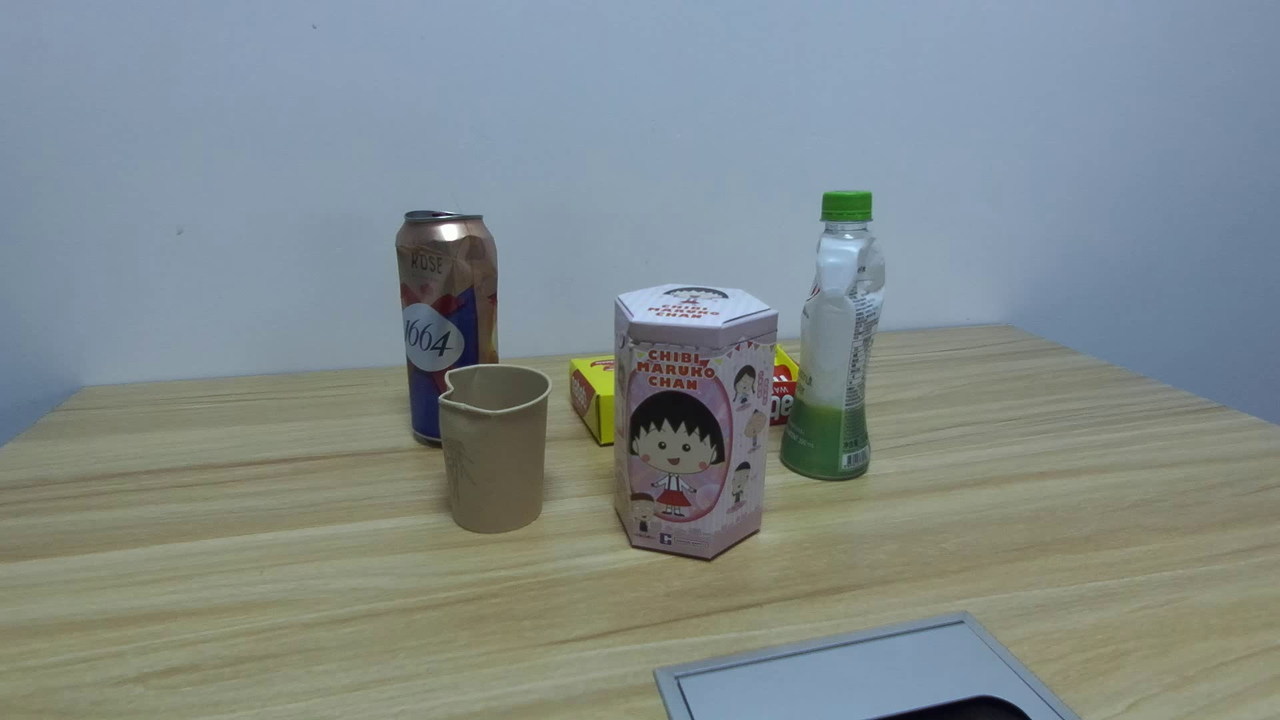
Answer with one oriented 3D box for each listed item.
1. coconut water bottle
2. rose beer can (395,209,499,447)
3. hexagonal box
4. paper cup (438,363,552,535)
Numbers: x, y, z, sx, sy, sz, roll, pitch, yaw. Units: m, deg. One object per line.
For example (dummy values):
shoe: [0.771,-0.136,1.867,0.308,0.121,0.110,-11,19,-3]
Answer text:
coconut water bottle: [0.131,-0.016,0.473,0.067,0.187,0.067,1,17,0]
rose beer can: [-0.138,-0.024,0.523,0.065,0.167,0.075,-11,20,-37]
hexagonal box: [0.029,0.033,0.404,0.091,0.136,0.084,6,19,14]
paper cup: [-0.087,0.053,0.426,0.073,0.081,0.069,9,19,22]
